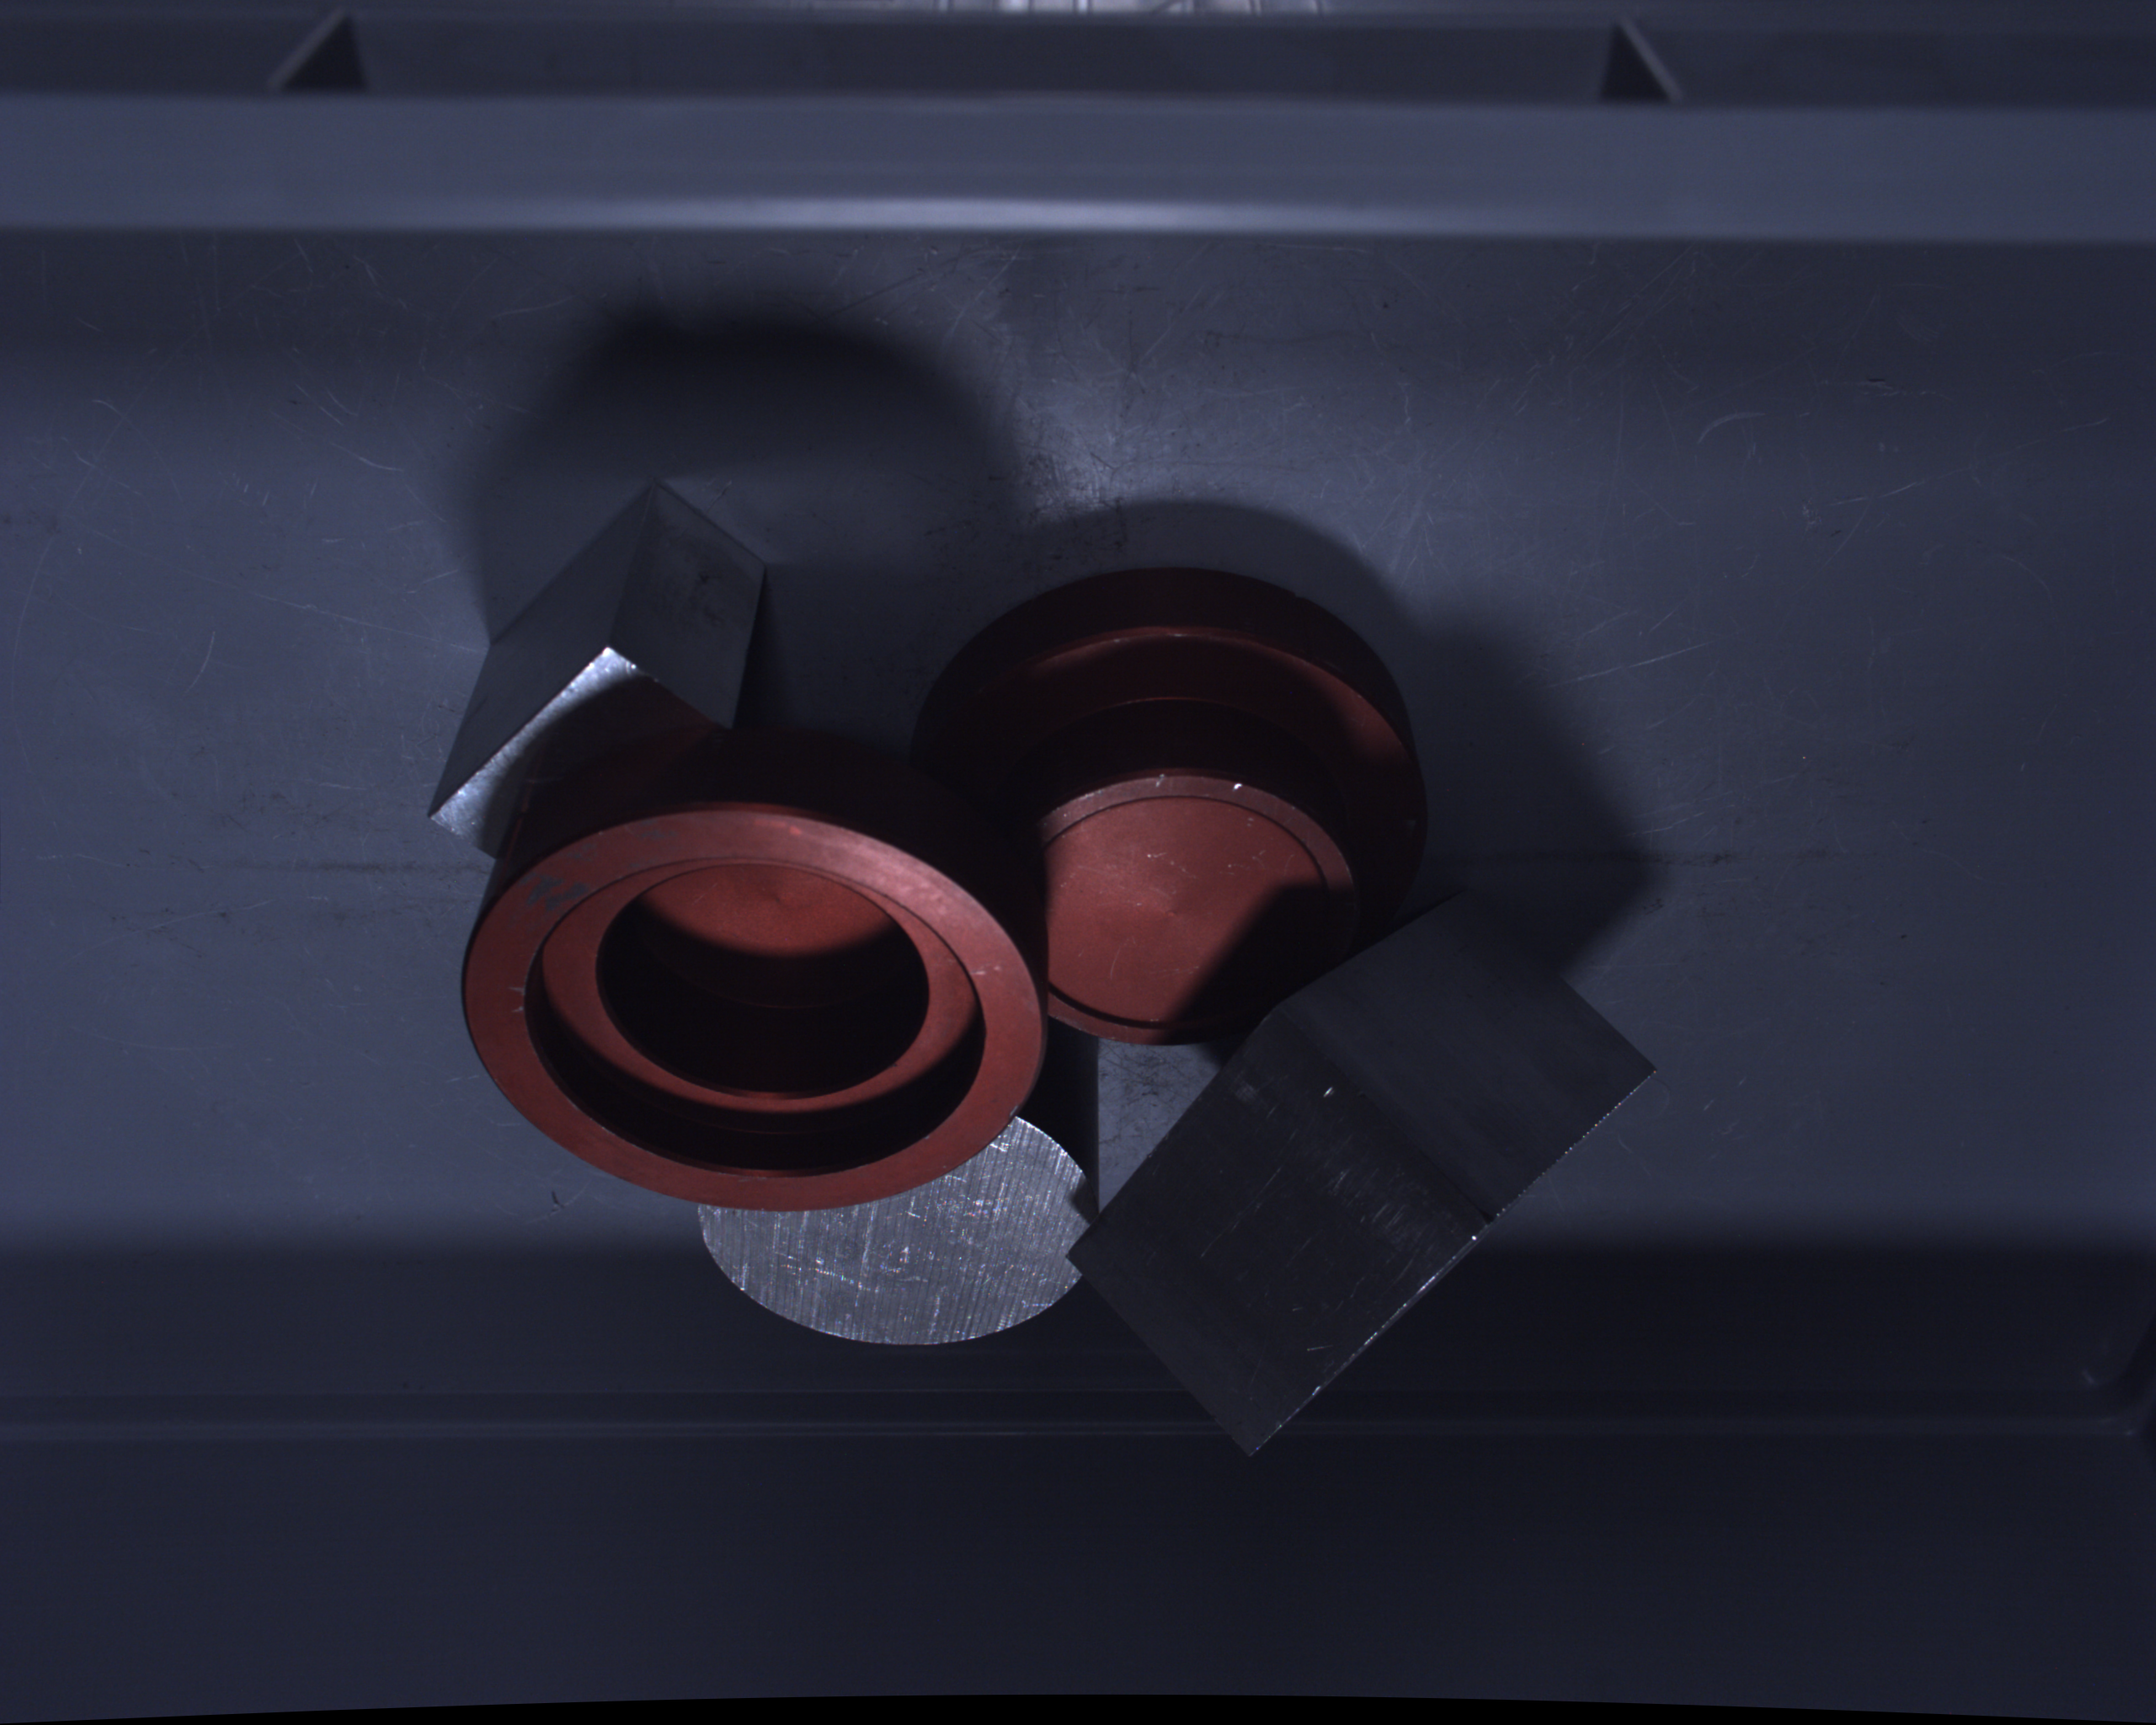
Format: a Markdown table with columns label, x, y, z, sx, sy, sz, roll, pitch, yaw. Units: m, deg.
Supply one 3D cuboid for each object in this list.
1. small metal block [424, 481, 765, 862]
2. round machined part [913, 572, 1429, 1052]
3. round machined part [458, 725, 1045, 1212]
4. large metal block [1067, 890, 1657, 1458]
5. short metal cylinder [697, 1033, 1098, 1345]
| label | x | y | z | sx | sy | sz | roll | pitch | yaw |
| --- | --- | --- | --- | --- | --- | --- | --- | --- | --- |
| small metal block | -0.083 | -0.030 | 0.363 | 0.025 | 0.050 | 0.050 | 37 | 121 | -27 |
| round machined part | 0.017 | -0.002 | 0.392 | 0.099 | 0.042 | 0.097 | -1 | 130 | 0 |
| round machined part | -0.055 | 0.015 | 0.369 | 0.099 | 0.042 | 0.097 | -1 | 130 | 0 |
| large metal block | 0.057 | 0.060 | 0.414 | 0.050 | 0.081 | 0.080 | 46 | 125 | 15 |
| short metal cylinder | -0.036 | 0.057 | 0.438 | 0.081 | 0.050 | 0.079 | 0 | 130 | 0 |
